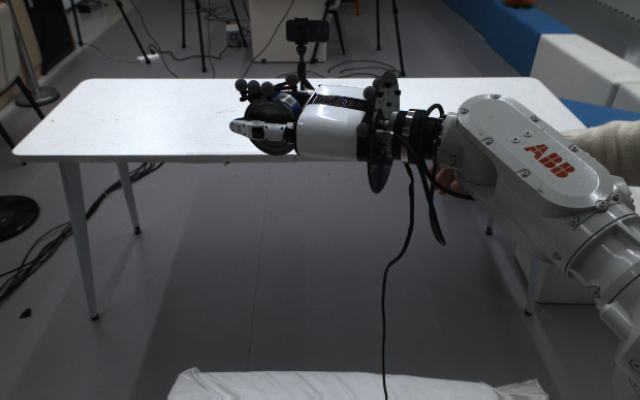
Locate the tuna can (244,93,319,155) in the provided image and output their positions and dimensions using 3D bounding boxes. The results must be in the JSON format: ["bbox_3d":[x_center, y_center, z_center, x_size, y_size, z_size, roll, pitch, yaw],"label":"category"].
[{"bbox_3d":[-0.060,-0.108,0.681,0.085,0.085,0.034,14,34,17],"label":"tuna can"}]
